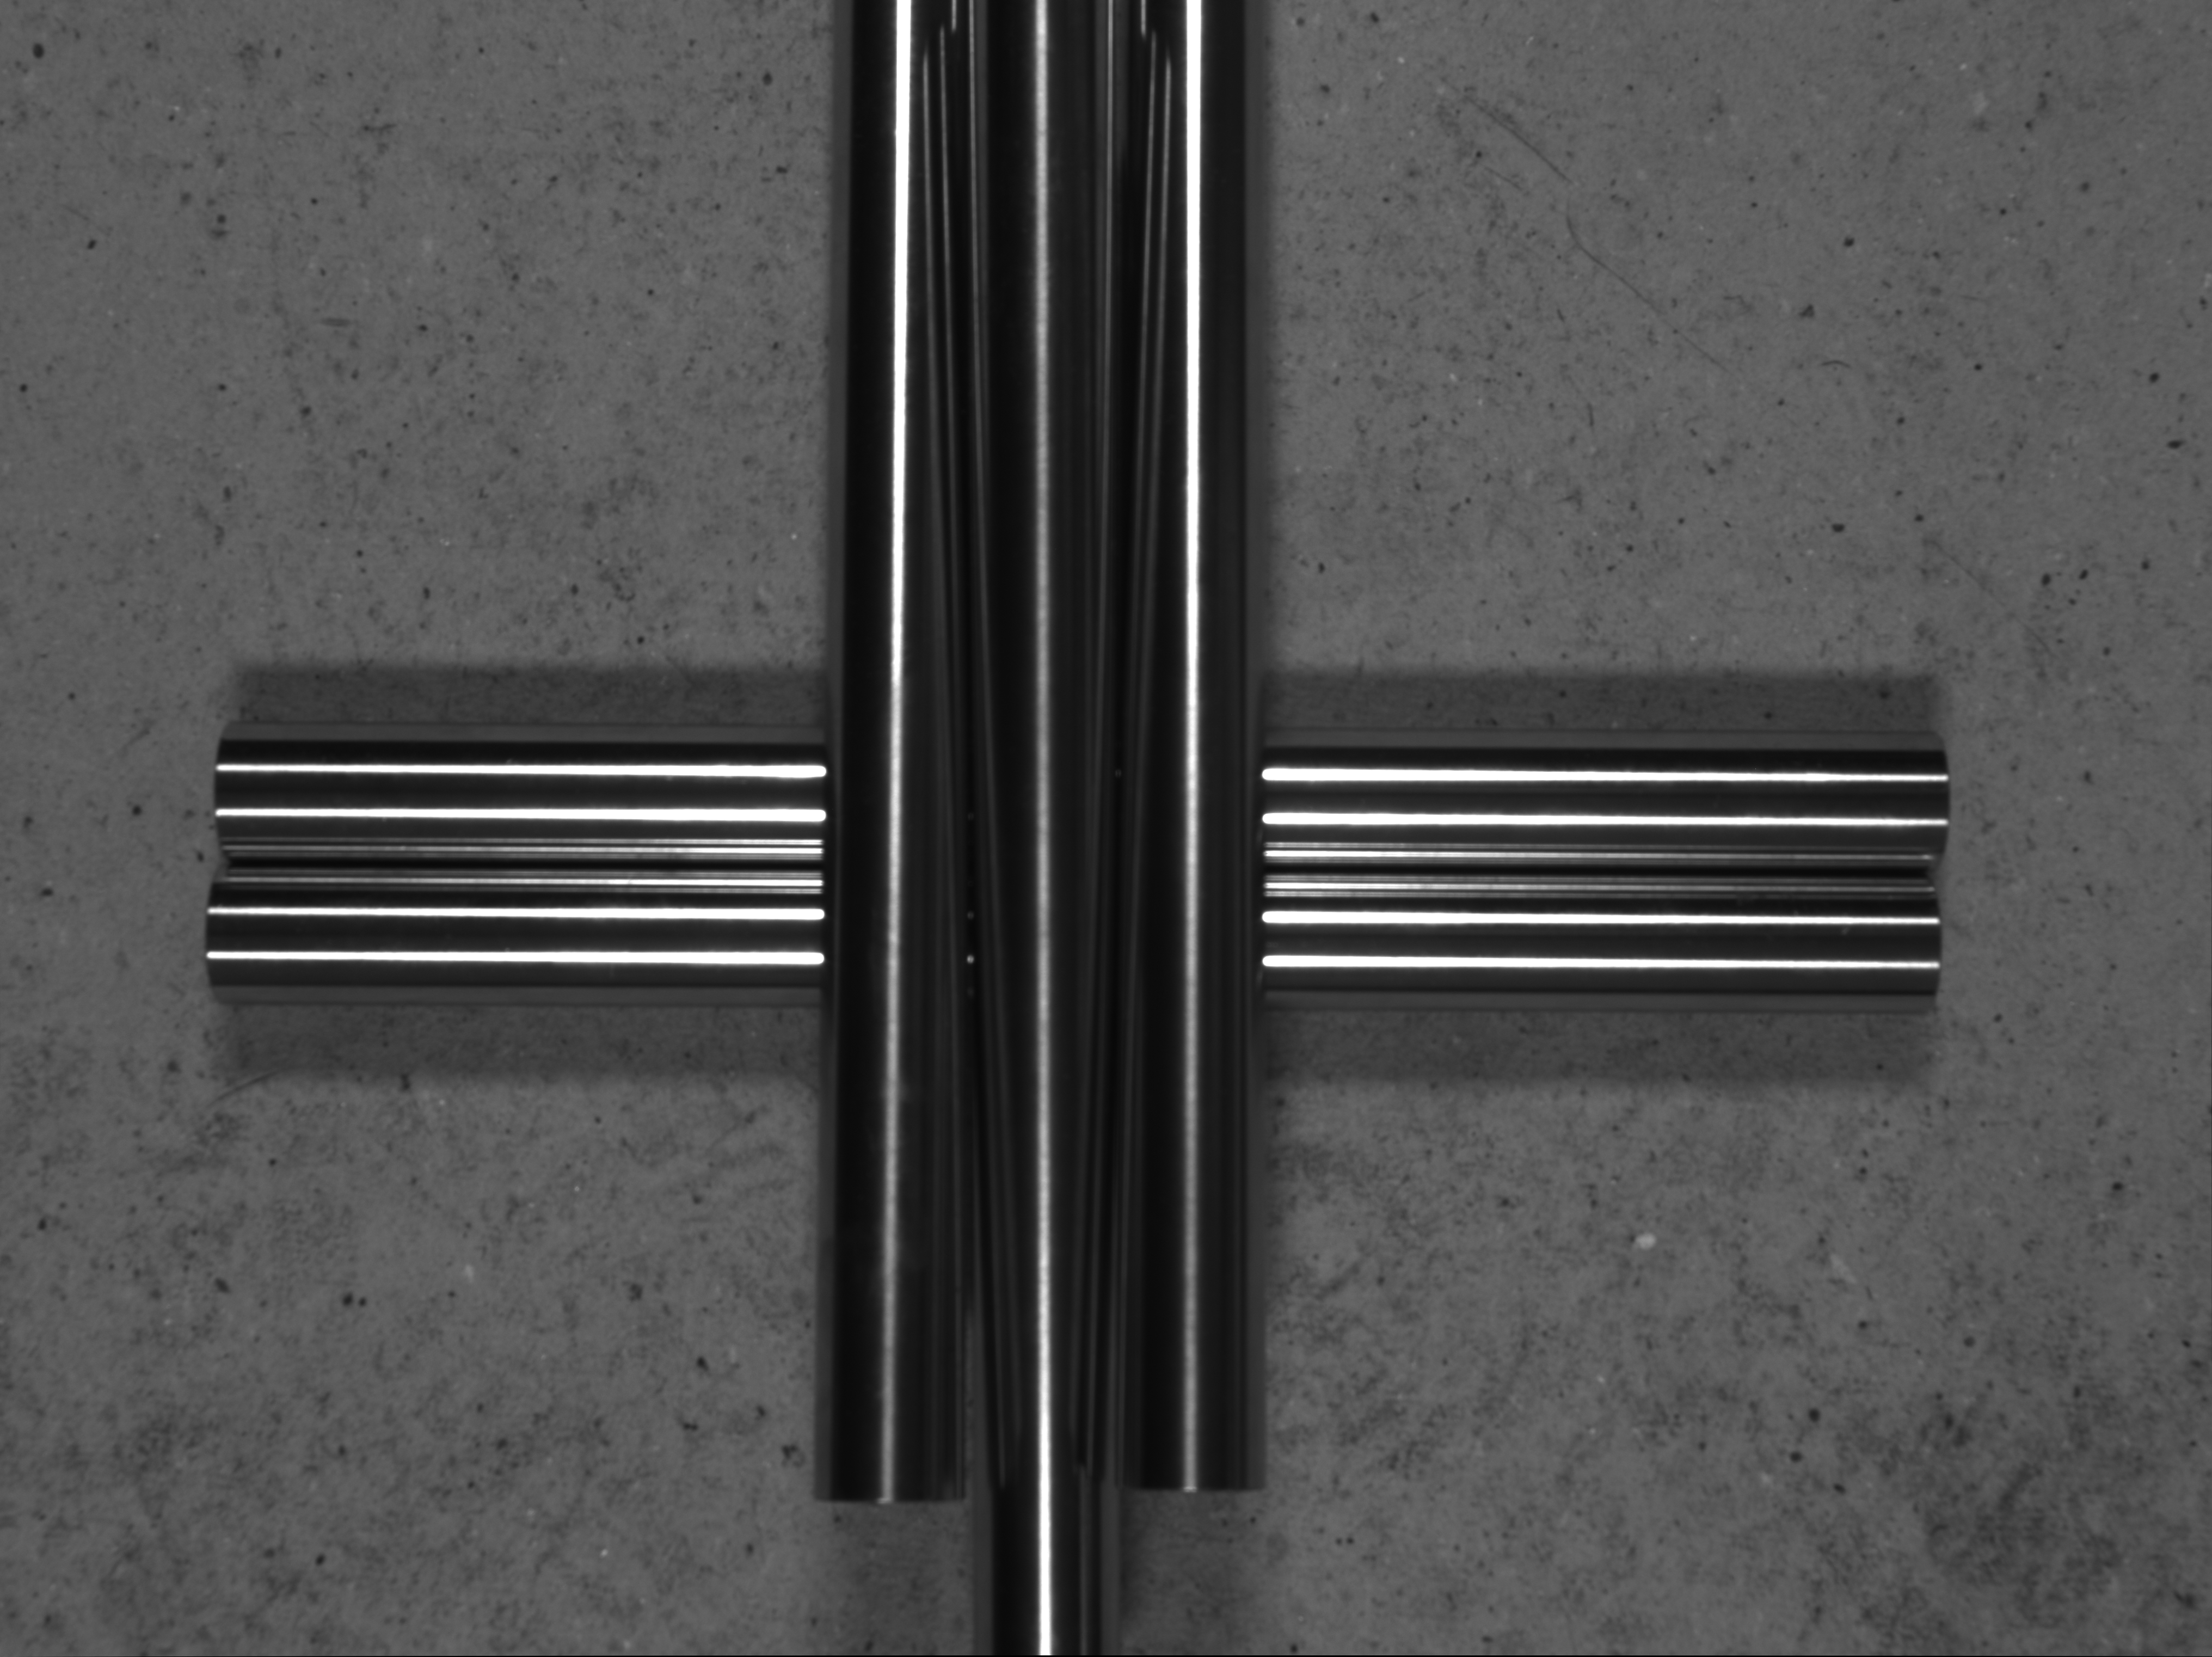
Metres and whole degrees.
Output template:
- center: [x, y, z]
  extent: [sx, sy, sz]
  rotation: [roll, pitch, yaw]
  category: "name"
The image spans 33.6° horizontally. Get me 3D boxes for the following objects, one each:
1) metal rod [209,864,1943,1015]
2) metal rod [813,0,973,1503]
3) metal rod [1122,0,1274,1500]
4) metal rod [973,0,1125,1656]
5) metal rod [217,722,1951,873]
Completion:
- center: [-0.005, 0.020, 0.646]
  extent: [0.300, 0.025, 0.025]
  rotation: [0, 90, -1]
  category: "metal rod"
- center: [-0.035, -0.038, 0.624]
  extent: [0.025, 0.025, 0.300]
  rotation: [0, 82, 0]
  category: "metal rod"
- center: [0.016, -0.038, 0.624]
  extent: [0.025, 0.025, 0.300]
  rotation: [0, 82, 0]
  category: "metal rod"
- center: [-0.010, 0.010, 0.620]
  extent: [0.025, 0.025, 0.300]
  rotation: [0, 90, 0]
  category: "metal rod"
- center: [-0.004, -0.005, 0.646]
  extent: [0.300, 0.025, 0.025]
  rotation: [0, 90, -1]
  category: "metal rod"
